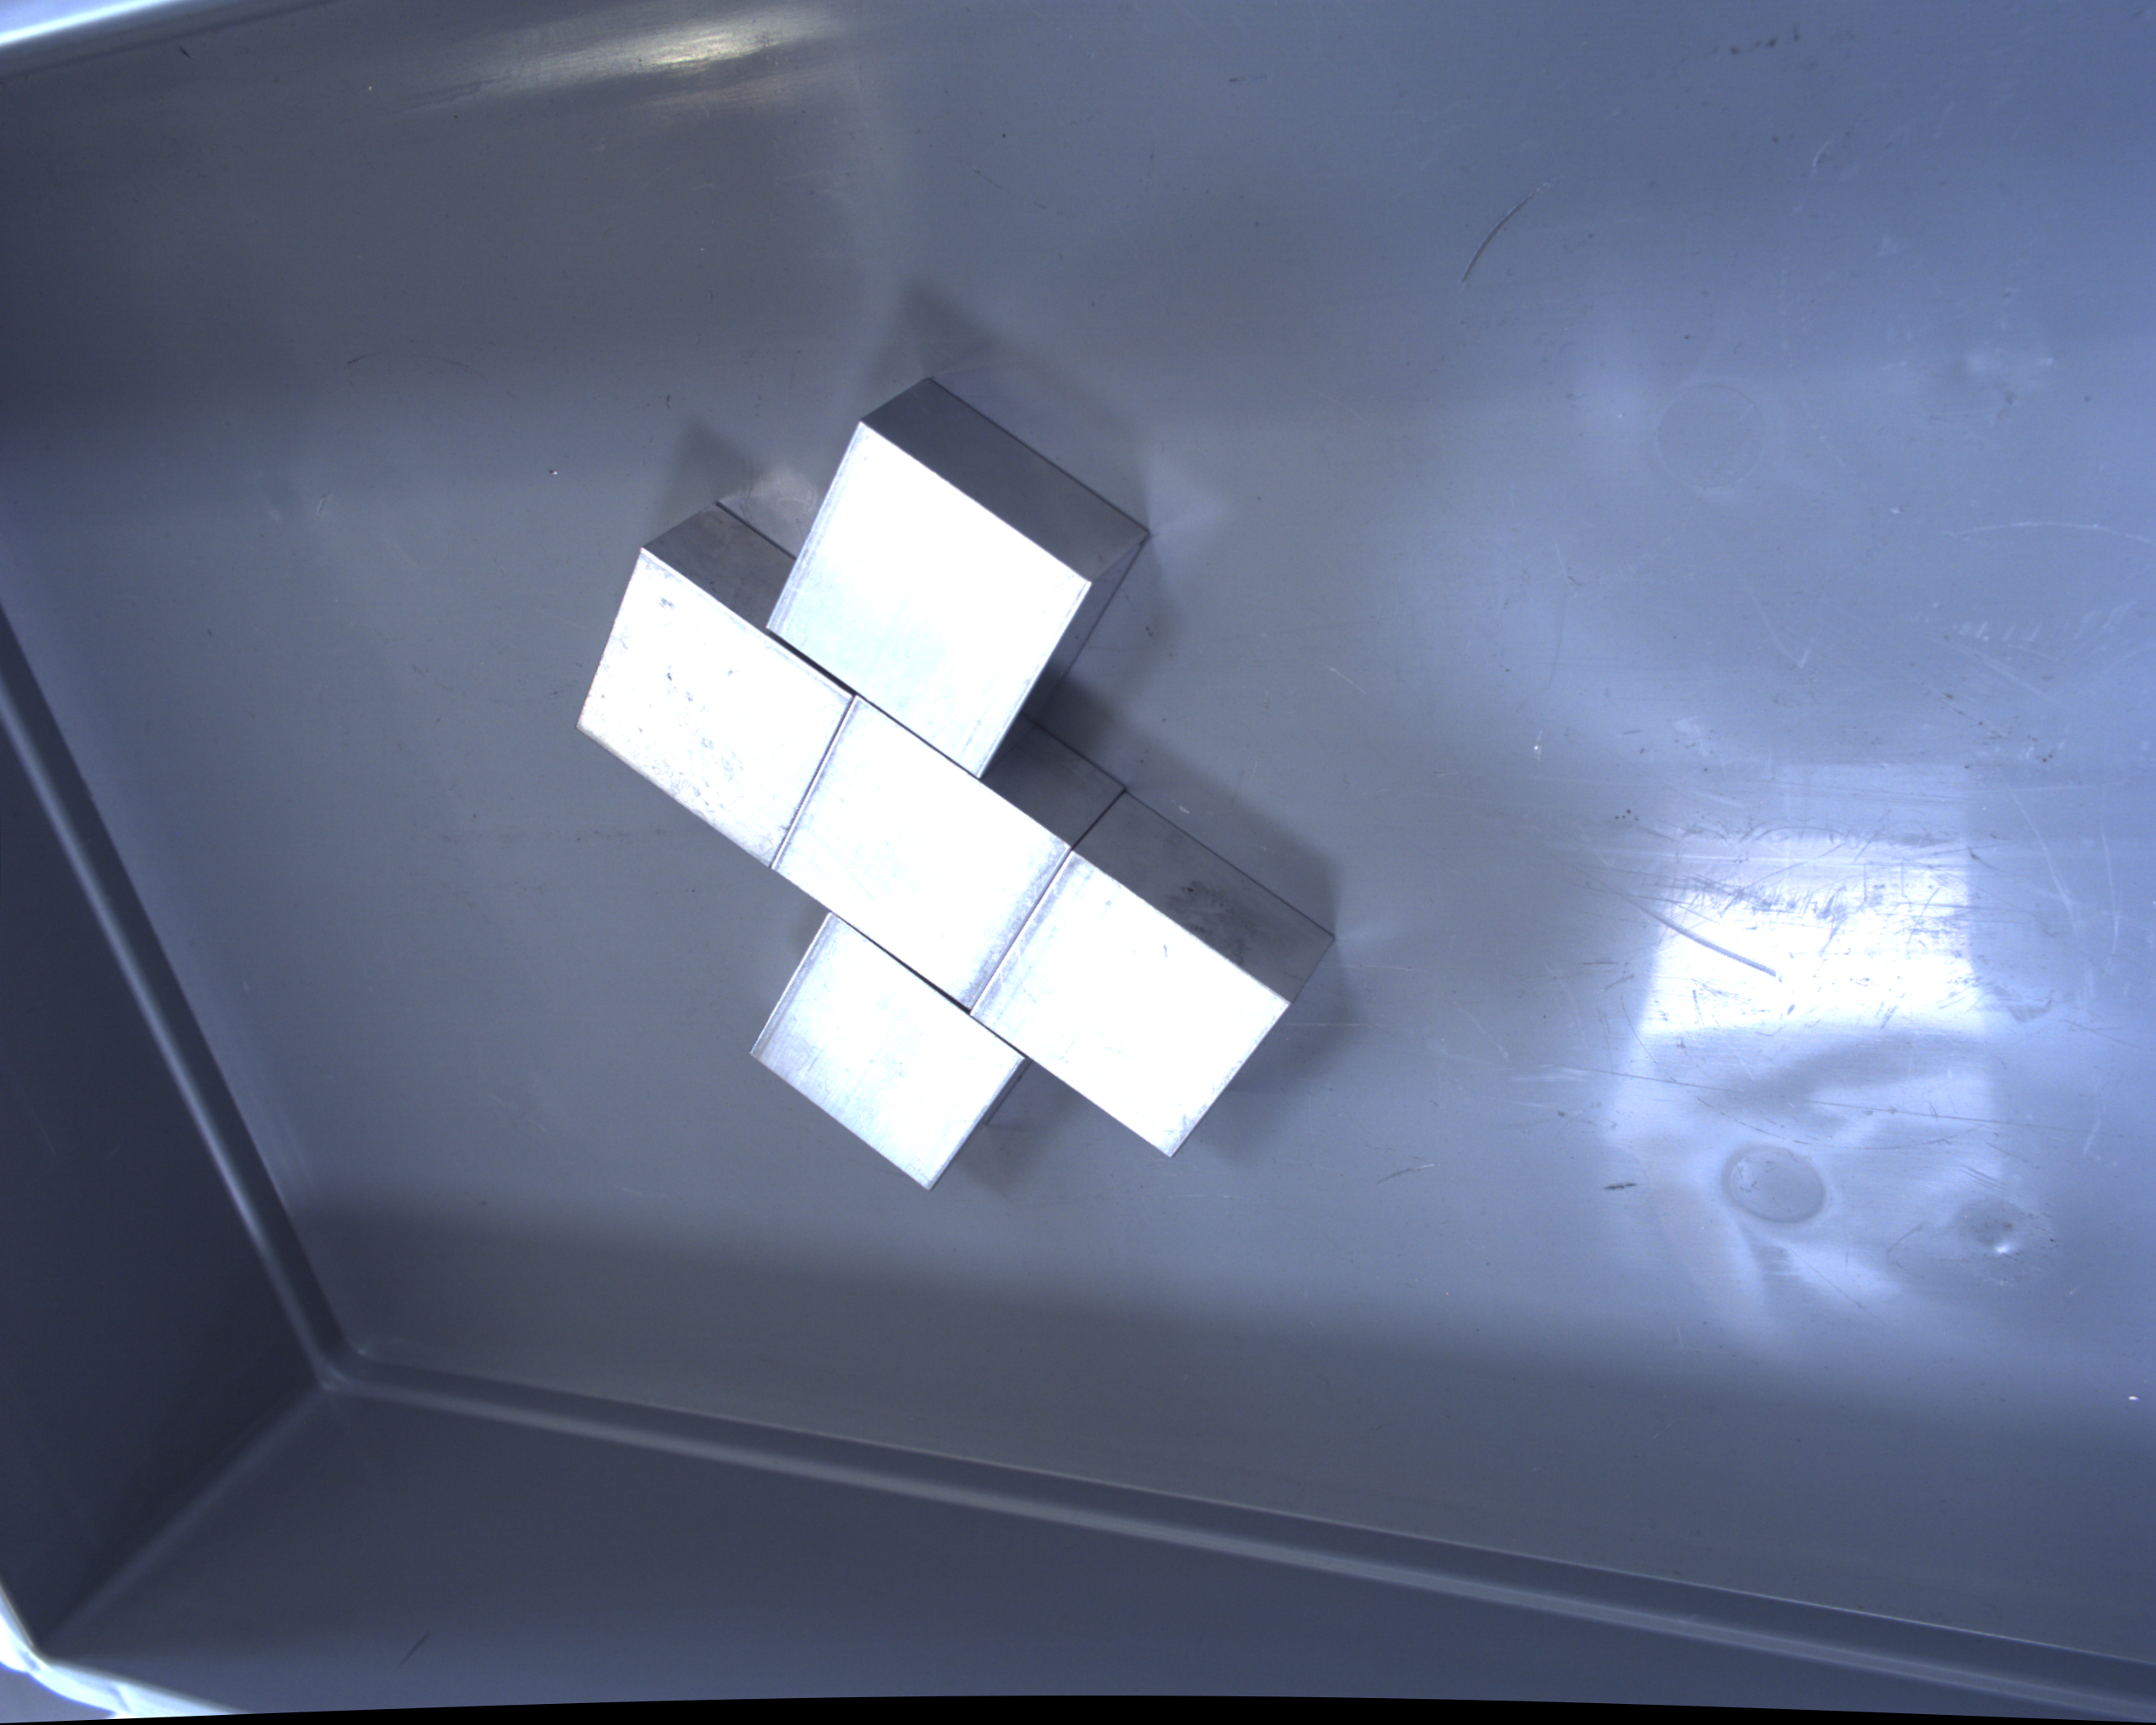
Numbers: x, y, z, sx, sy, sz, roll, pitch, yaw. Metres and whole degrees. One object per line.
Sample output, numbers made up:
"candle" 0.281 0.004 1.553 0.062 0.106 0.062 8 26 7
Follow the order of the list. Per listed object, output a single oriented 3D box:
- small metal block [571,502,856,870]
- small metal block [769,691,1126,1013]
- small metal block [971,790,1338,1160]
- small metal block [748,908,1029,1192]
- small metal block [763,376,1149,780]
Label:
"small metal block" -0.068 -0.035 0.420 0.050 0.025 0.050 36 129 4
"small metal block" -0.027 -0.006 0.415 0.050 0.025 0.050 36 129 4
"small metal block" 0.014 0.023 0.412 0.050 0.025 0.050 36 129 4
"small metal block" -0.036 0.035 0.447 0.050 0.025 0.050 37 130 3
"small metal block" -0.023 -0.052 0.386 0.050 0.025 0.050 36 128 4
